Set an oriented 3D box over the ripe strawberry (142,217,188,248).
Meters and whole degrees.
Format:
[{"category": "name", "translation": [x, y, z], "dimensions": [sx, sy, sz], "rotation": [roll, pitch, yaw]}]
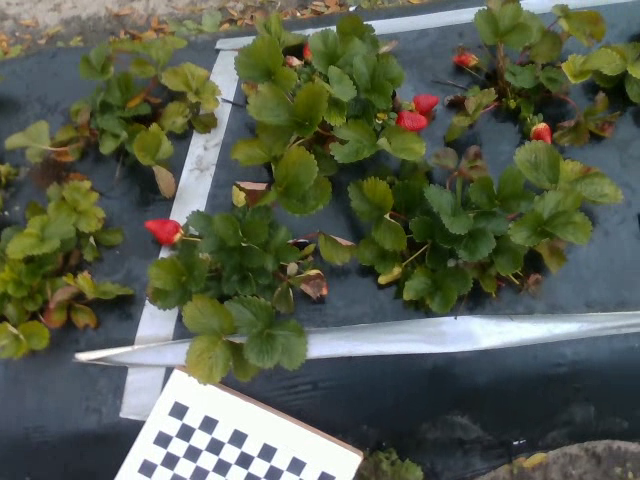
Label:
[{"category": "ripe strawberry", "translation": [-0.210, -0.016, 0.824], "dimensions": [0.051, 0.042, 0.038], "rotation": [22, 6, -3]}]
